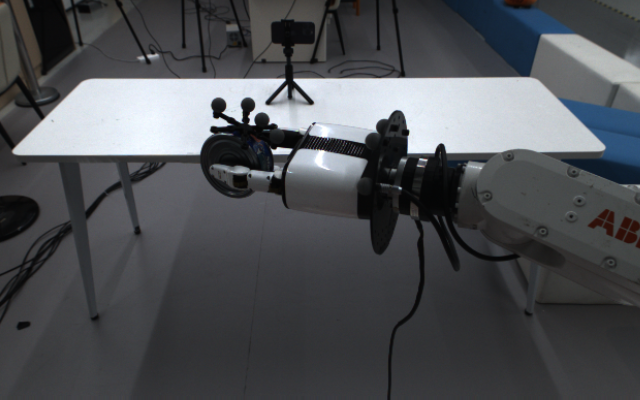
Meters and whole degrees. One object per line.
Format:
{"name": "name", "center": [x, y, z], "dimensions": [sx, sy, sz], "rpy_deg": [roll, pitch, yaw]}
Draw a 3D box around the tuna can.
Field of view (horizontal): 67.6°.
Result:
{"name": "tuna can", "center": [-0.100, -0.046, 0.589], "dimensions": [0.085, 0.085, 0.034], "rpy_deg": [15, 31, 18]}
